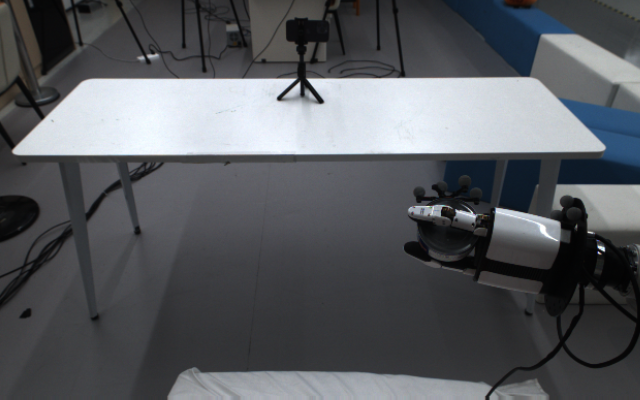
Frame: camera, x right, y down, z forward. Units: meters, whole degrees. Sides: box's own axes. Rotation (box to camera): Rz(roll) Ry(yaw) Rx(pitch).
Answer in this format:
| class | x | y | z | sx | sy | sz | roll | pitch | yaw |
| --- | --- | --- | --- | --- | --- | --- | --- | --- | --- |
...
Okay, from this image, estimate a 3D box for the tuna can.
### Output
| class | x | y | z | sx | sy | sz | roll | pitch | yaw |
| --- | --- | --- | --- | --- | --- | --- | --- | --- | --- |
| tuna can | 0.180 | 0.038 | 0.676 | 0.085 | 0.034 | 0.085 | -4 | 60 | 8 |
